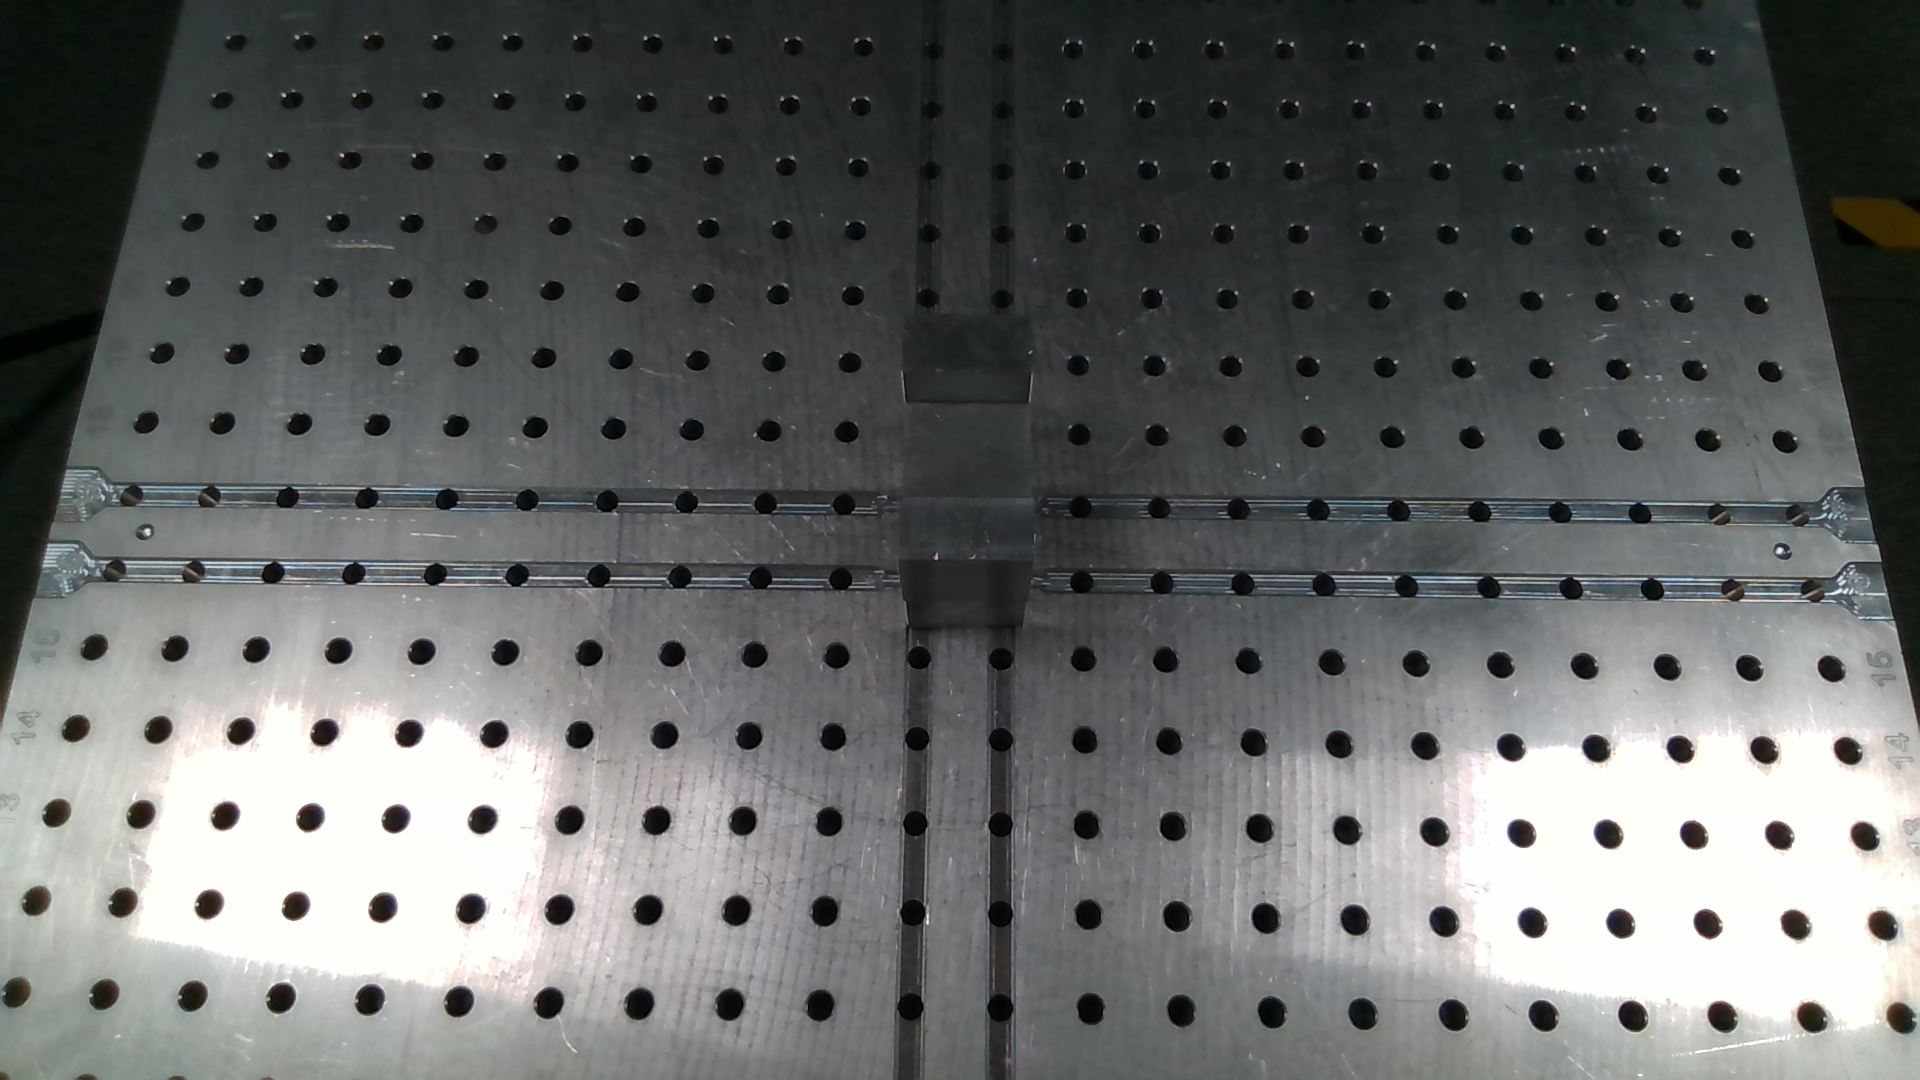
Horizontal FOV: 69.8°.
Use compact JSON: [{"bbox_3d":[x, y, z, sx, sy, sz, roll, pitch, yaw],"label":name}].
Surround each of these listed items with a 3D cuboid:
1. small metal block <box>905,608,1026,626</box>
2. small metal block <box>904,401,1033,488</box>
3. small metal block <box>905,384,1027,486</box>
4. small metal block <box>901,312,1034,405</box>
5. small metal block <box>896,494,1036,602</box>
[{"bbox_3d":[0.002,0.016,0.571,0.050,0.050,0.025,-1,70,0],"label":"small metal block"},{"bbox_3d":[0.003,-0.027,0.548,0.050,0.025,0.050,1,70,0],"label":"small metal block"},{"bbox_3d":[0.002,-0.044,0.592,0.050,0.050,0.025,1,70,0],"label":"small metal block"},{"bbox_3d":[0.003,-0.067,0.547,0.050,0.050,0.025,1,70,0],"label":"small metal block"},{"bbox_3d":[0.002,0.004,0.521,0.050,0.050,0.025,1,70,0],"label":"small metal block"}]
